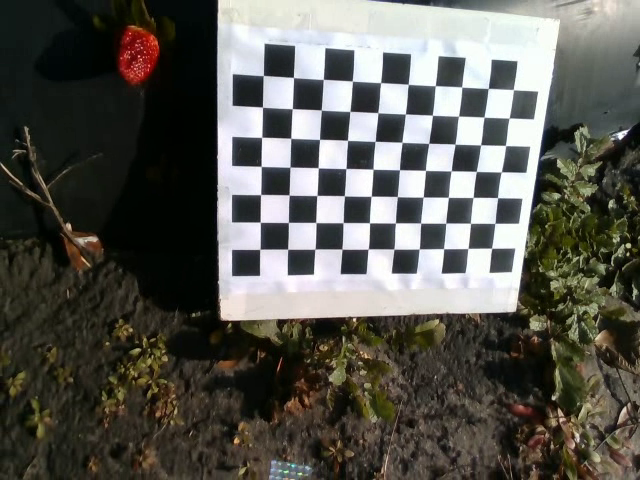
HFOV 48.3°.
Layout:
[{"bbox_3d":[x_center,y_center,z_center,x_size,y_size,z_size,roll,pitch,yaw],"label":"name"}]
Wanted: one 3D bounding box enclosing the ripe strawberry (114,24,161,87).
[{"bbox_3d":[-0.049,-0.051,0.195,0.016,0.022,0.015,8,-40,-17],"label":"ripe strawberry"}]
